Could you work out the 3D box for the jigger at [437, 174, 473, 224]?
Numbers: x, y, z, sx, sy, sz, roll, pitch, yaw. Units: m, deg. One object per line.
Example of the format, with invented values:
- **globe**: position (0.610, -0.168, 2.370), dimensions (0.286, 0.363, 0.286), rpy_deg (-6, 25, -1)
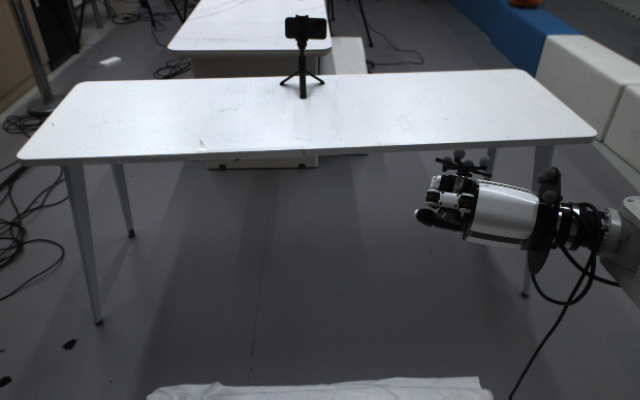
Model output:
- **jigger**: position (0.205, -0.002, 0.737), dimensions (0.043, 0.071, 0.043), rpy_deg (19, -6, 2)
